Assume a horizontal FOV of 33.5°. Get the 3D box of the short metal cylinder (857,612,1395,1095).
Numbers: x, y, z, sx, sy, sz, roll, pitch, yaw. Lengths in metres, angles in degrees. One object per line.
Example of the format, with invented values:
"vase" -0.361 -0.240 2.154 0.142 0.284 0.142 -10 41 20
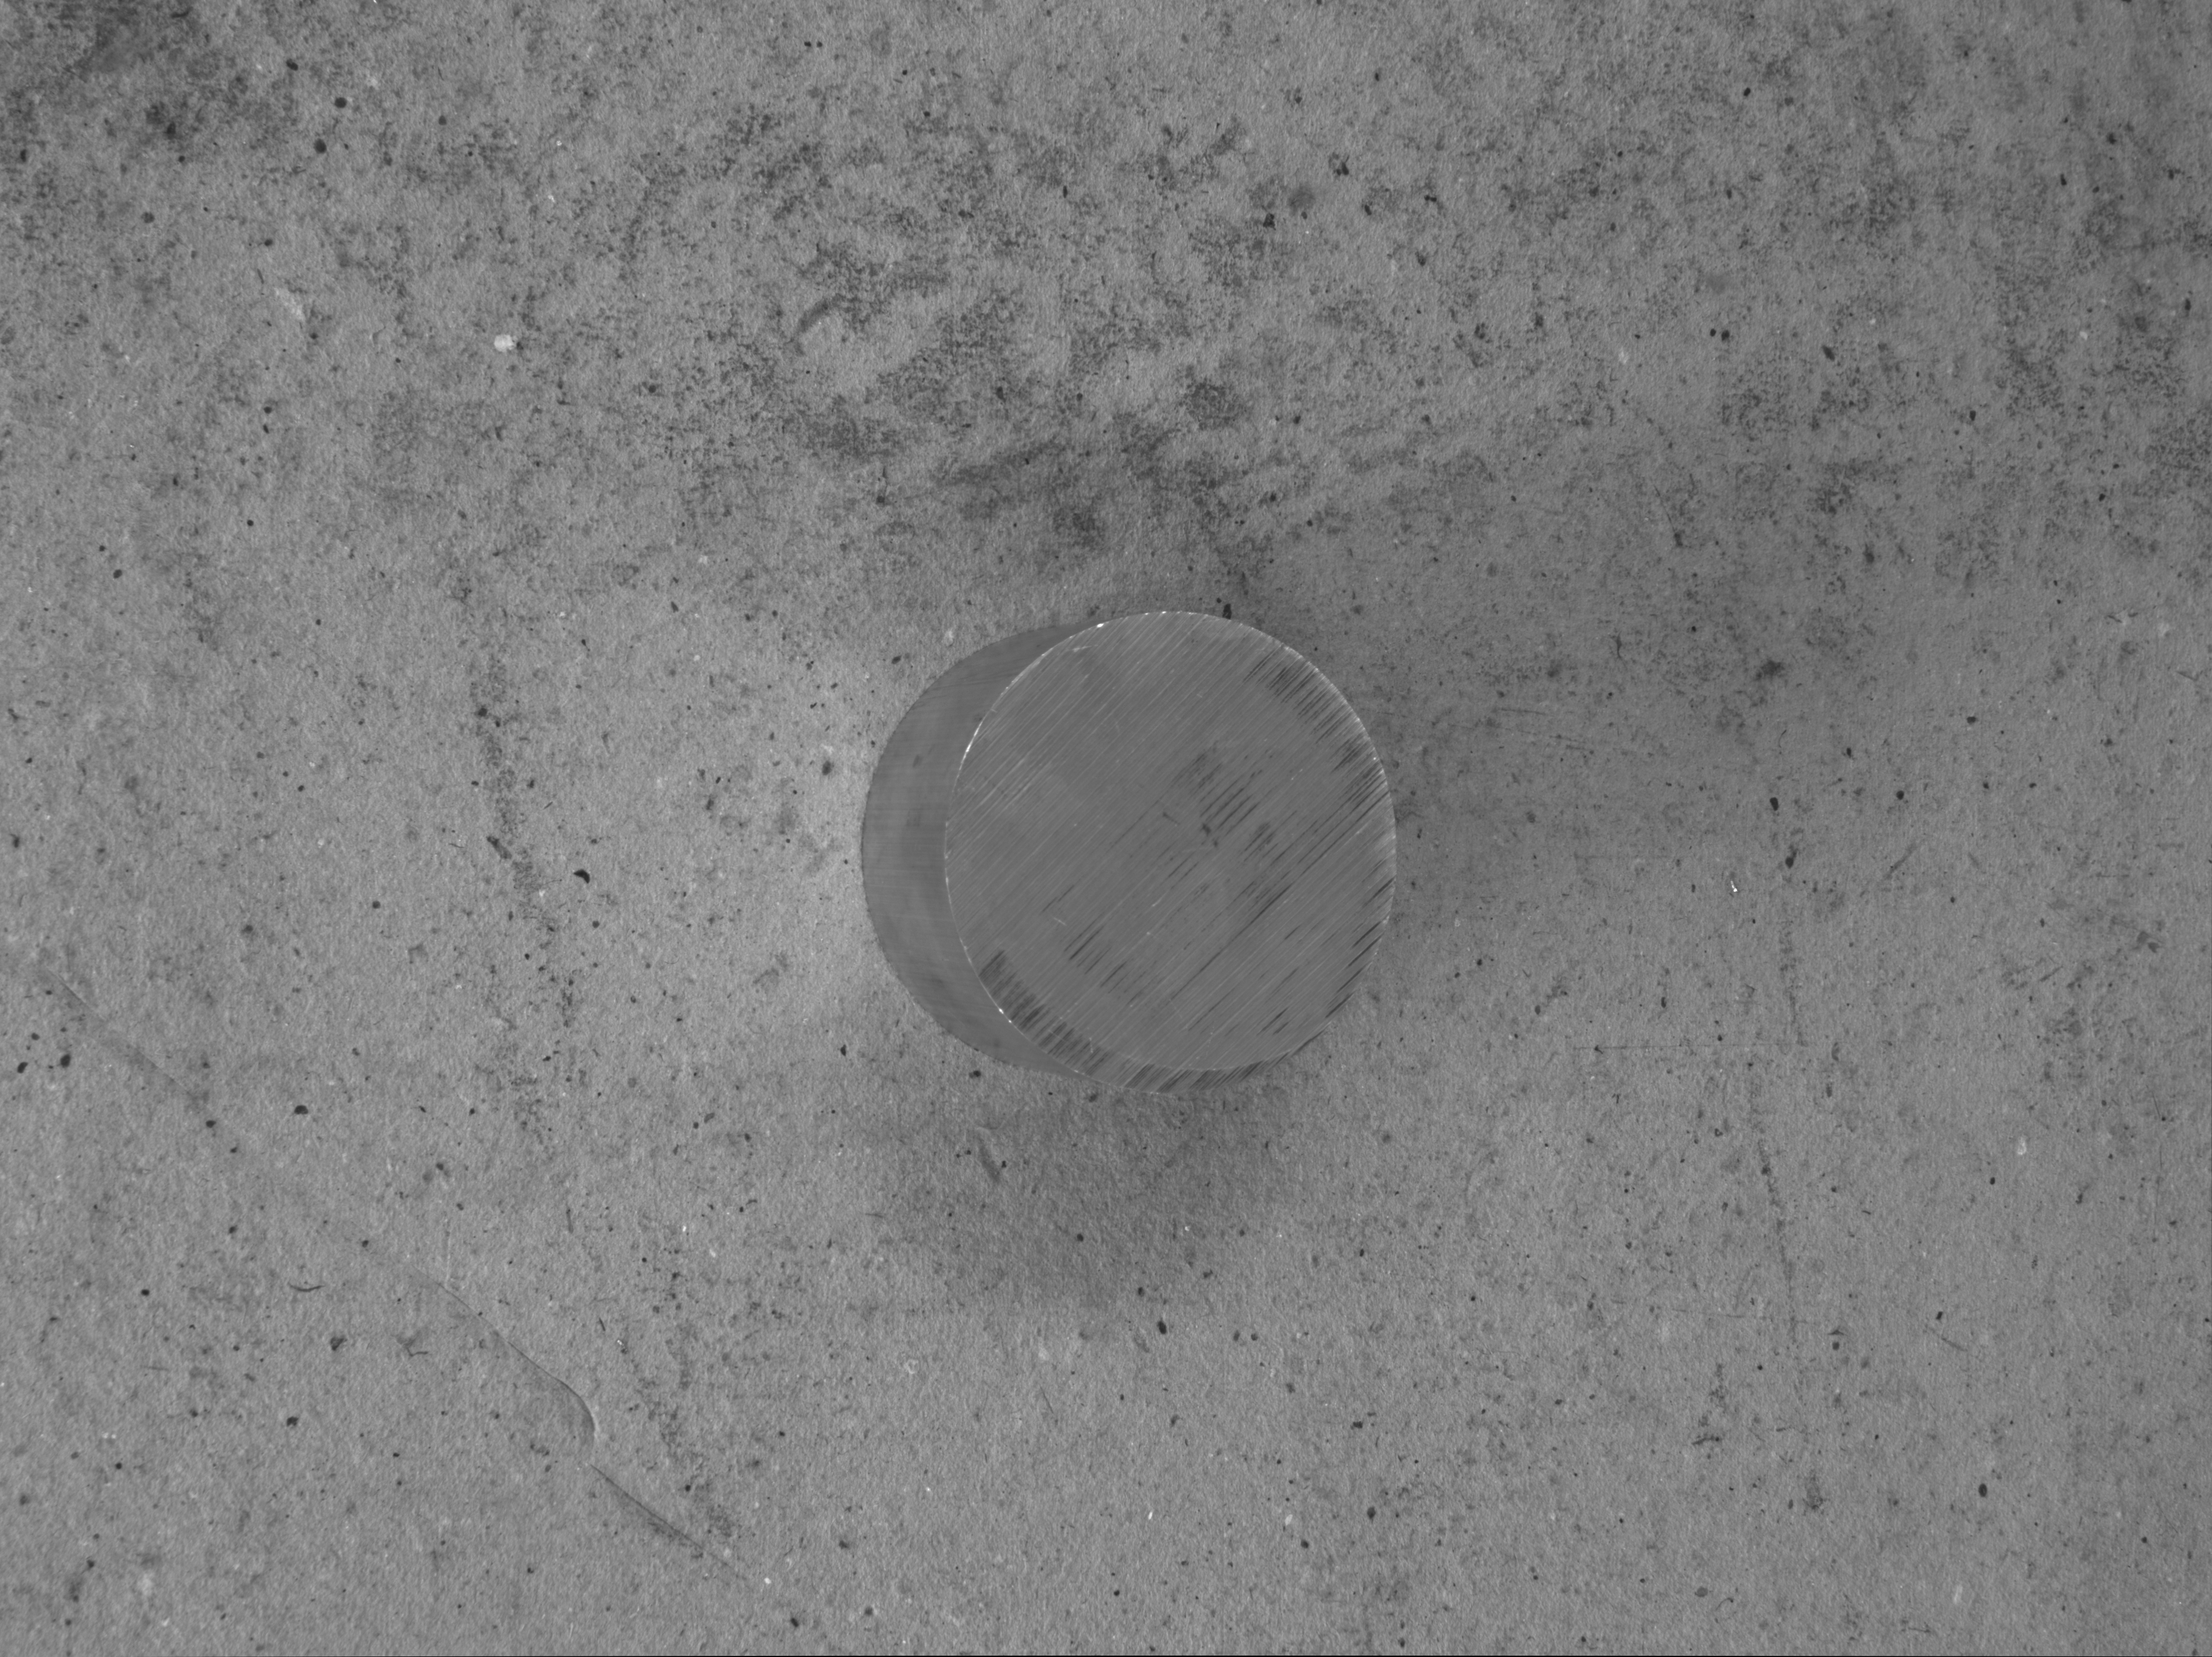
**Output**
"short metal cylinder" 0.003 0.004 0.631 0.080 0.050 0.080 0 90 -21
